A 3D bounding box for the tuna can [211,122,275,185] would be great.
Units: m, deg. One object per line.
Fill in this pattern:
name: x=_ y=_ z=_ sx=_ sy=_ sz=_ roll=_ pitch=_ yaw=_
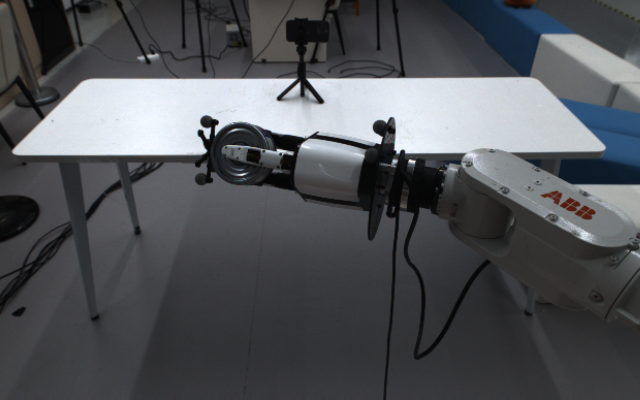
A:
tuna can: x=-0.102 y=-0.063 z=0.660 sx=0.085 sy=0.085 sz=0.034 roll=10 pitch=3 yaw=11
